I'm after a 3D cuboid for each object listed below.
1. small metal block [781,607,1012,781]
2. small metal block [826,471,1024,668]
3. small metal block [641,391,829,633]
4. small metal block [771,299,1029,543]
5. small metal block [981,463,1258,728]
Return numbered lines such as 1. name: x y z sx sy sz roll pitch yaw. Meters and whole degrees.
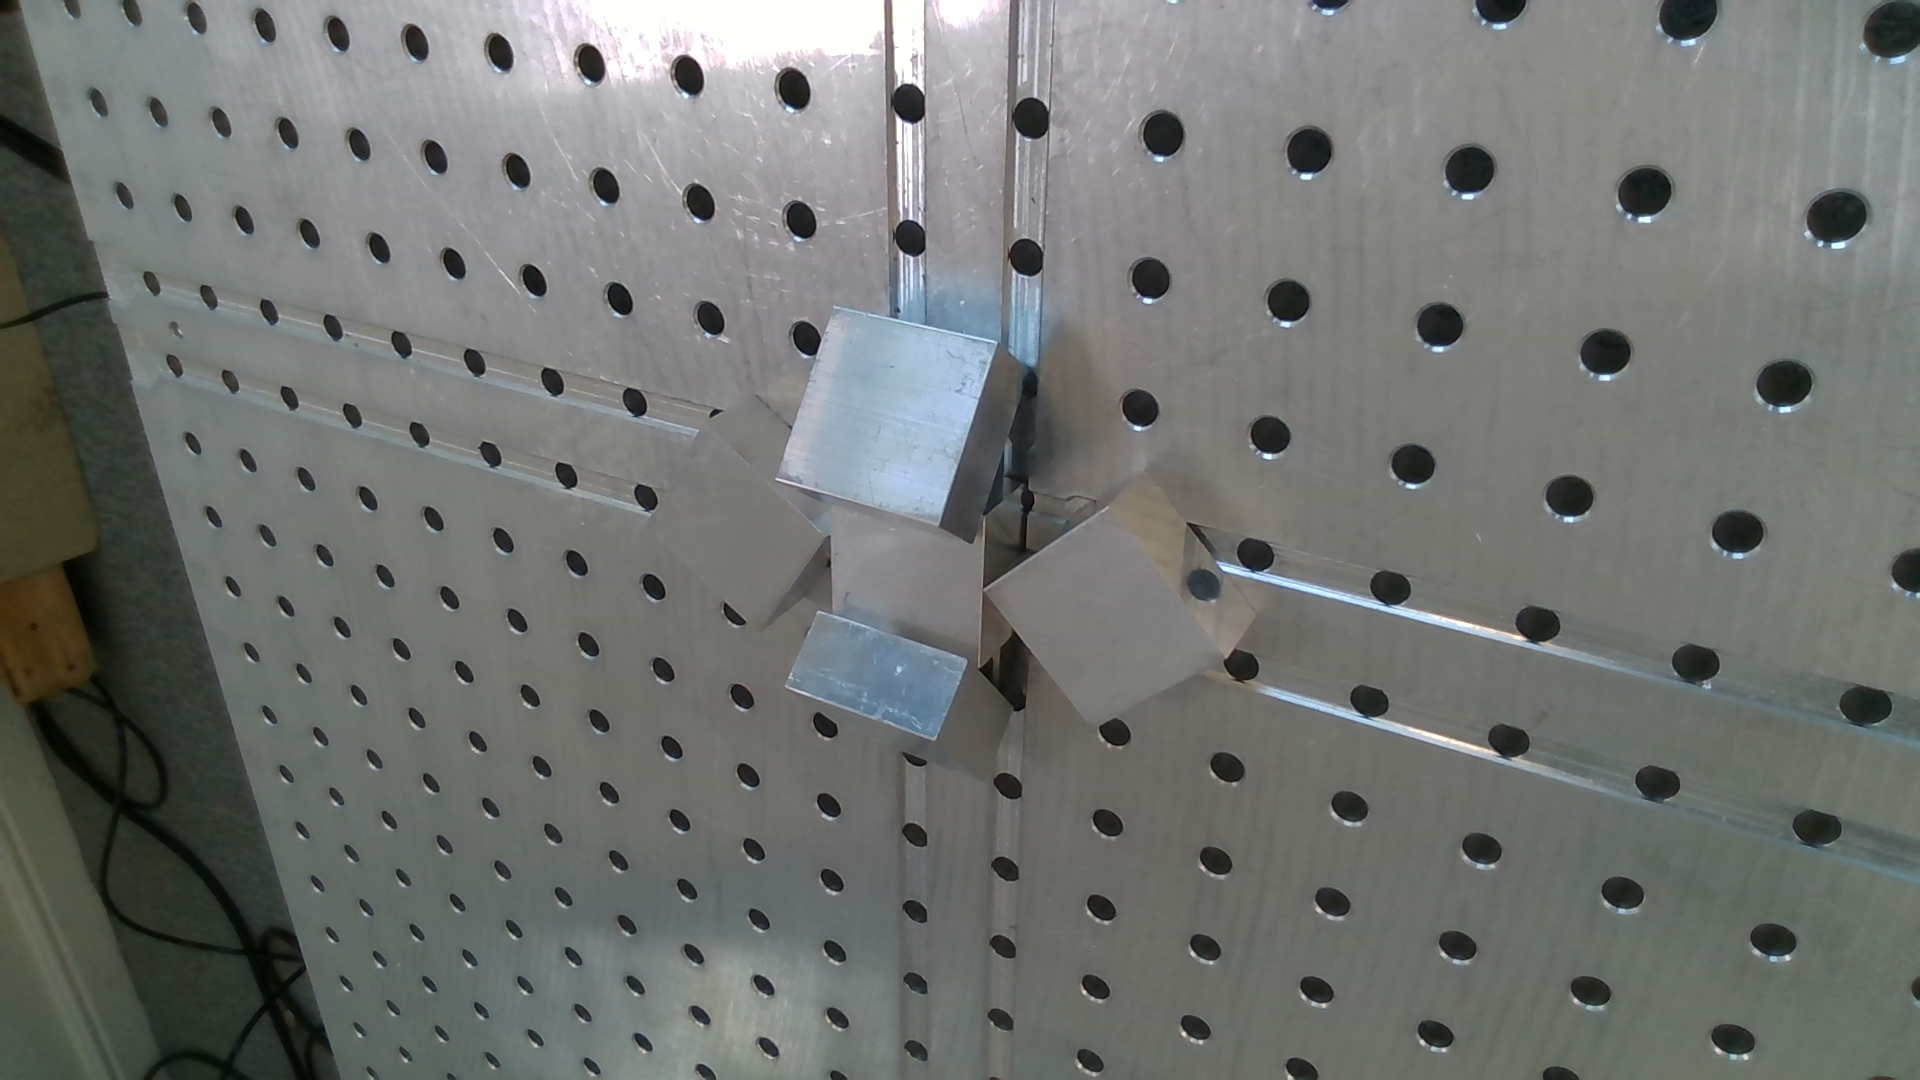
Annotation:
1. small metal block: -0.018 0.047 0.410 0.050 0.025 0.050 16 163 23
2. small metal block: -0.010 0.003 0.399 0.050 0.025 0.050 15 122 23
3. small metal block: -0.064 -0.008 0.425 0.050 0.025 0.050 43 128 5
4. small metal block: -0.016 -0.032 0.367 0.050 0.025 0.050 17 86 24
5. small metal block: 0.043 0.016 0.374 0.050 0.025 0.050 -35 95 39
